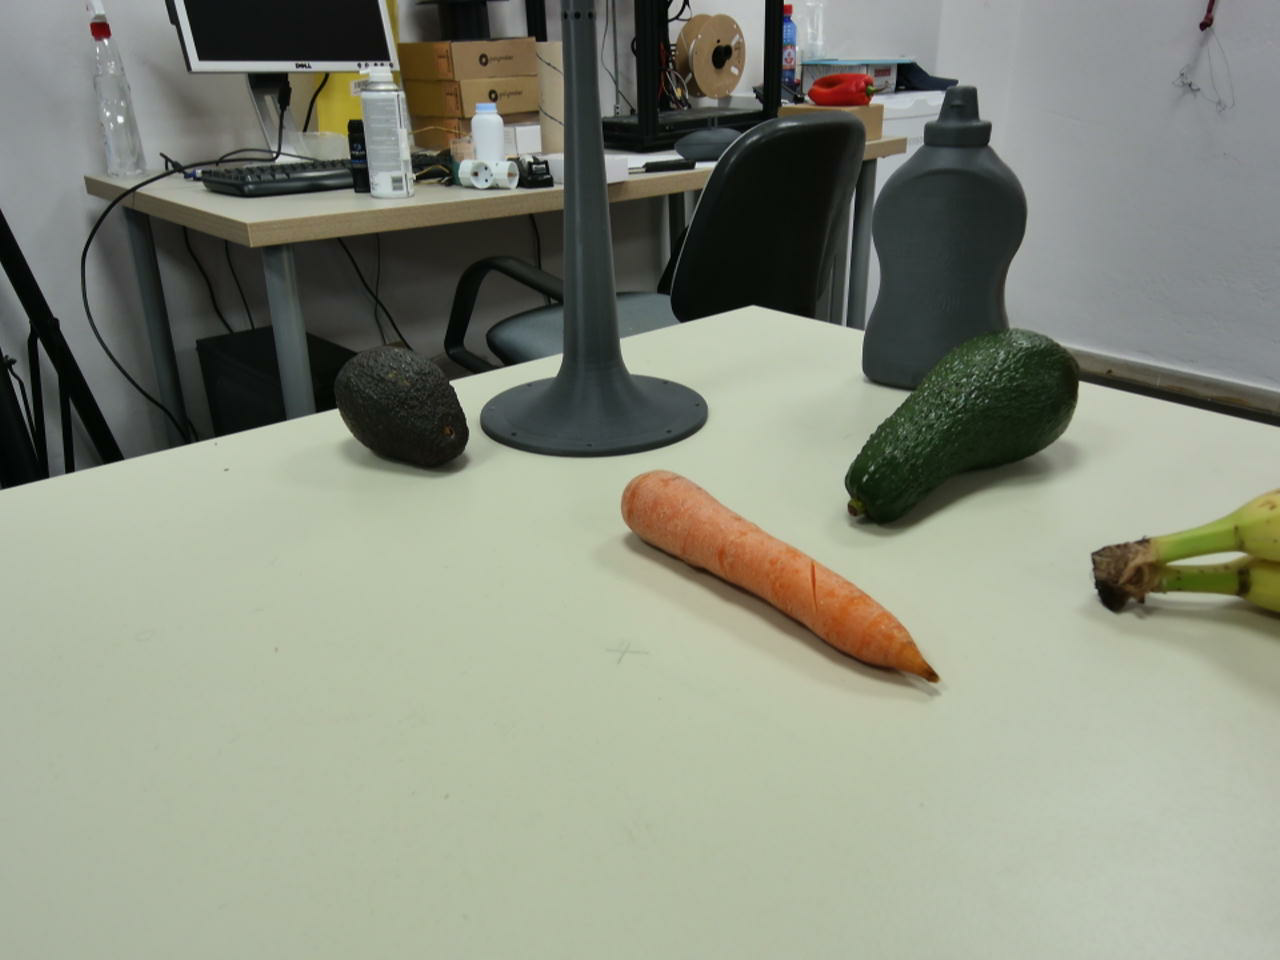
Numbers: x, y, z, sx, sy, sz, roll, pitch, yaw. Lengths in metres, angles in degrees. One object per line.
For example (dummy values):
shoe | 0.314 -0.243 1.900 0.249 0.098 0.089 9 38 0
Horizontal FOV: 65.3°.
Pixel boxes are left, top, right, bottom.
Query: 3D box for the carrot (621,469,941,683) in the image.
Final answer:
carrot | 0.060 0.038 0.467 0.039 0.041 0.196 -17 28 -36
